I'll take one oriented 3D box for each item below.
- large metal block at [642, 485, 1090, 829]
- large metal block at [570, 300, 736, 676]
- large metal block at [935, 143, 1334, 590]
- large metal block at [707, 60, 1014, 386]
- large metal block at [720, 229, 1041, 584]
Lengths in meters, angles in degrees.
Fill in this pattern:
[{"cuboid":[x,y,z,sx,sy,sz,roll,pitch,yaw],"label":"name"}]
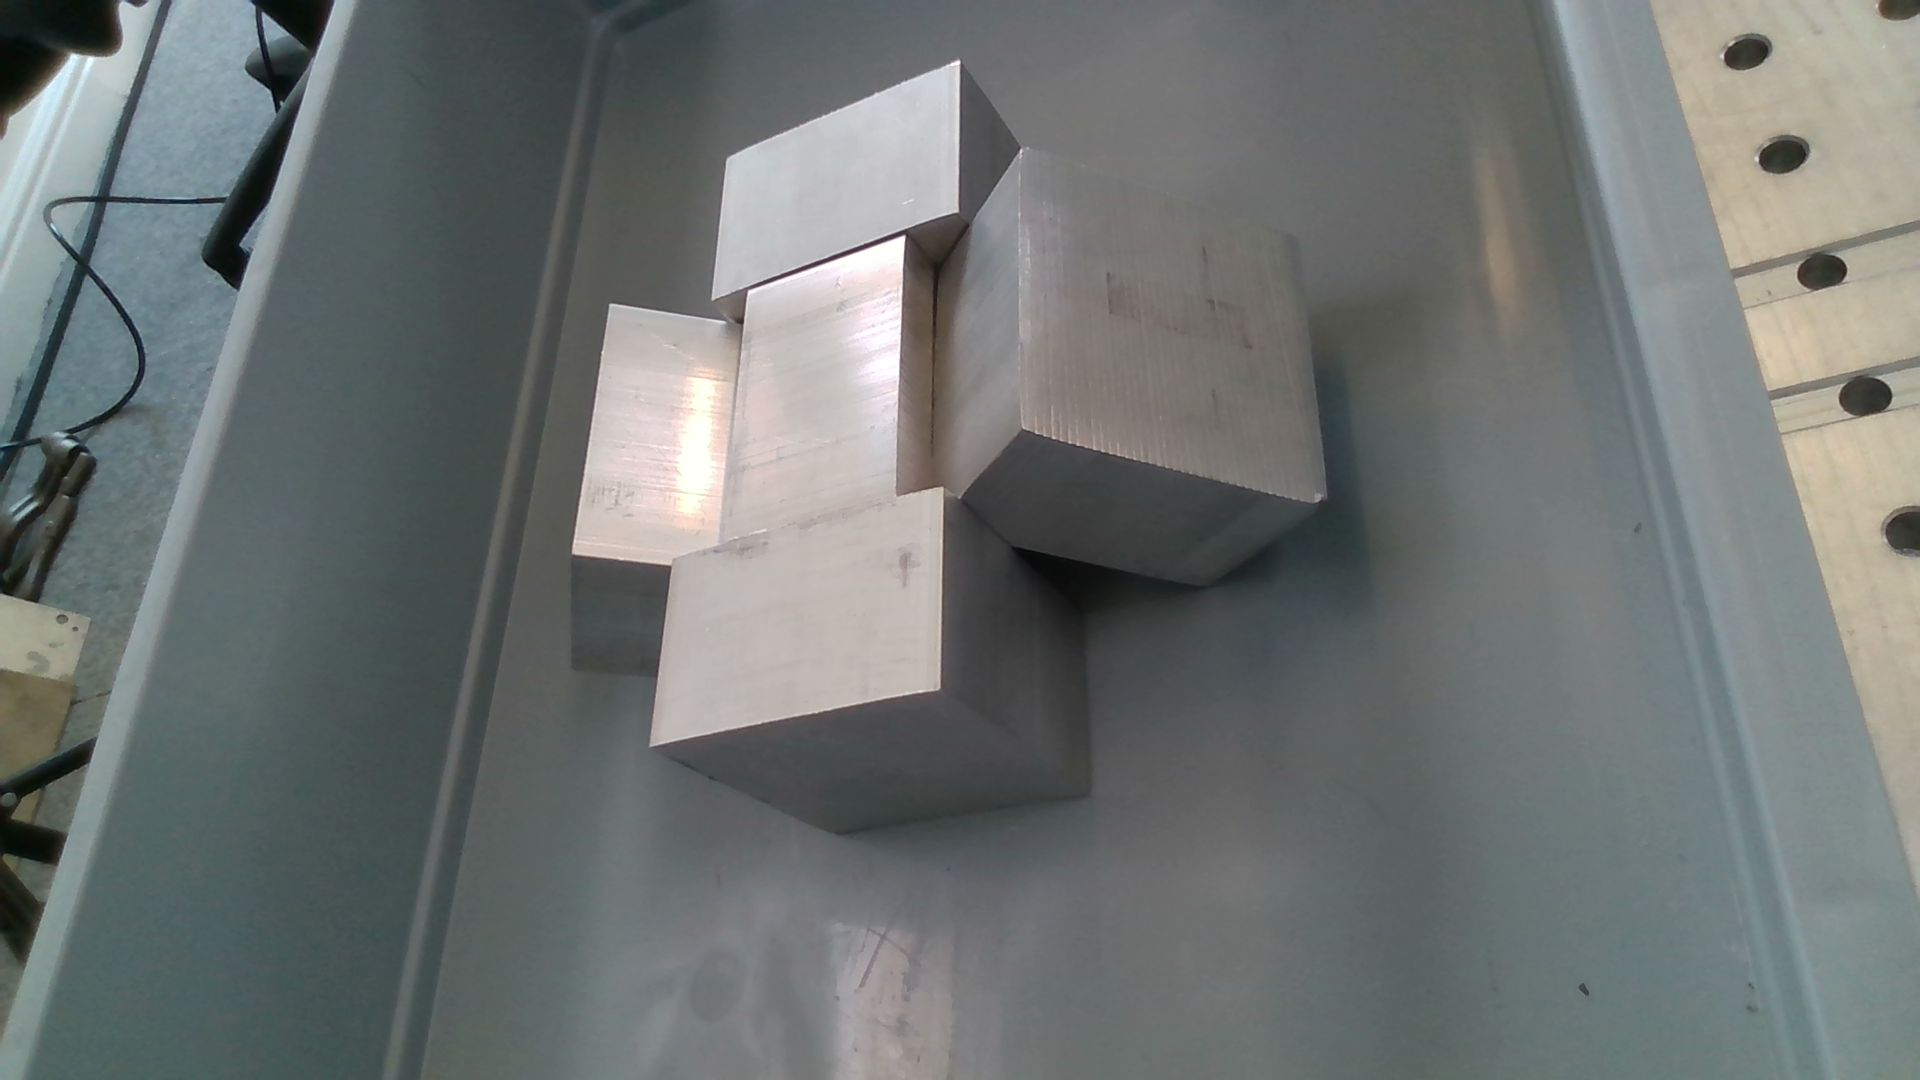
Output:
[{"cuboid":[-0.021,0.035,0.351,0.080,0.080,0.050,-14,59,25],"label":"large metal block"},{"cuboid":[-0.083,-0.011,0.405,0.050,0.080,0.080,6,63,-12],"label":"large metal block"},{"cuboid":[0.041,-0.041,0.345,0.050,0.080,0.080,135,142,-55],"label":"large metal block"},{"cuboid":[-0.016,-0.083,0.410,0.080,0.080,0.050,-14,59,25],"label":"large metal block"},{"cuboid":[-0.018,-0.023,0.380,0.050,0.080,0.080,-14,59,25],"label":"large metal block"}]
